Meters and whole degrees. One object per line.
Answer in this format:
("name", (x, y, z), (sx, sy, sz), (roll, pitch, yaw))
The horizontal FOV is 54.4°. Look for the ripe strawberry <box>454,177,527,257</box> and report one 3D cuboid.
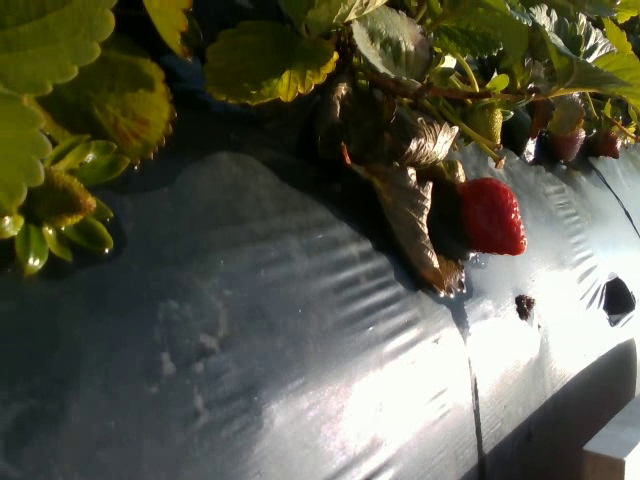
("ripe strawberry", (0.076, -0.002, 0.261), (0.037, 0.054, 0.046), (-43, -38, 19))
